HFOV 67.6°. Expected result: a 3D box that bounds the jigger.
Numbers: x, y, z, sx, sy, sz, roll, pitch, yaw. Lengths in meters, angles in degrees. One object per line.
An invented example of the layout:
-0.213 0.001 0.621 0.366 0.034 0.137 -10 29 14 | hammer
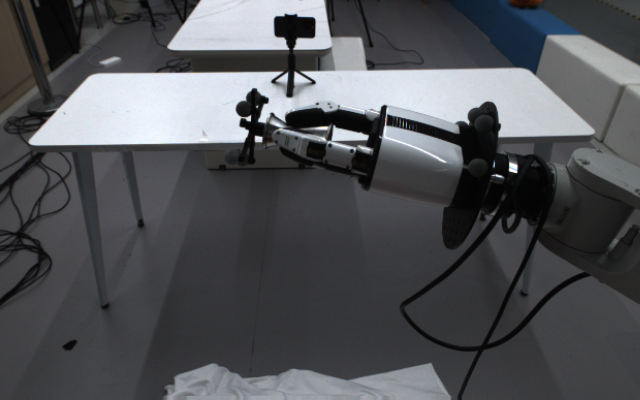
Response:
-0.017 -0.070 0.522 0.071 0.043 0.043 12 36 5 | jigger
